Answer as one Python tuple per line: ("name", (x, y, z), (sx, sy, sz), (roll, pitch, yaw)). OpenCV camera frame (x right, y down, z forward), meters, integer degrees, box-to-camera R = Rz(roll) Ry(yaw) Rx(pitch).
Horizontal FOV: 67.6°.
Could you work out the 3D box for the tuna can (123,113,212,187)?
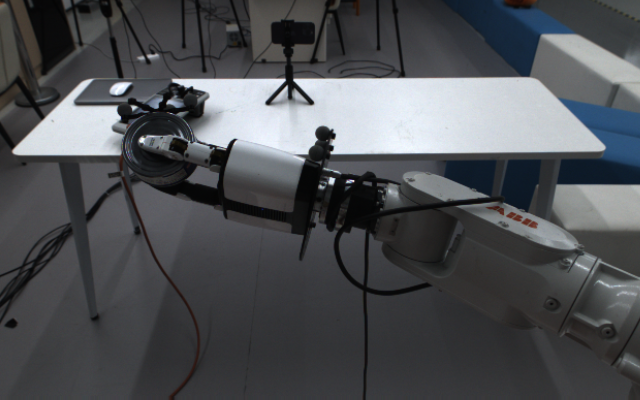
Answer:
("tuna can", (-0.185, -0.055, 0.573), (0.085, 0.034, 0.085), (0, 72, -2))
